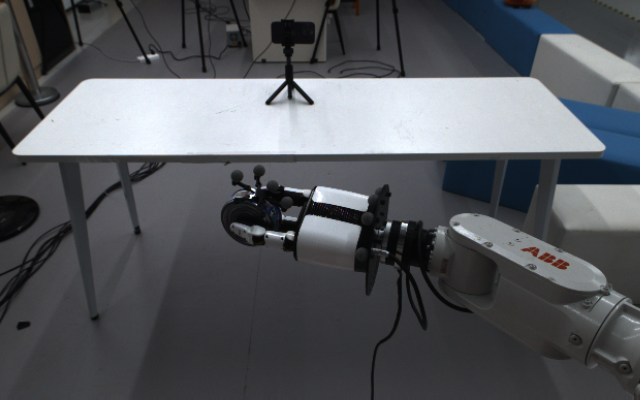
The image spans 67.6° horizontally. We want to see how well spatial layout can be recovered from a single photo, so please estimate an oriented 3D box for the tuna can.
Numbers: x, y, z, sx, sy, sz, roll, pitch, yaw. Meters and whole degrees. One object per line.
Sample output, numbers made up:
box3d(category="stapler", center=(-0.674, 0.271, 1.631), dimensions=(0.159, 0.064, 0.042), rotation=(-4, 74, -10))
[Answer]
box3d(category="tuna can", center=(-0.099, 0.033, 0.713), dimensions=(0.085, 0.085, 0.034), rotation=(12, 35, 14))
